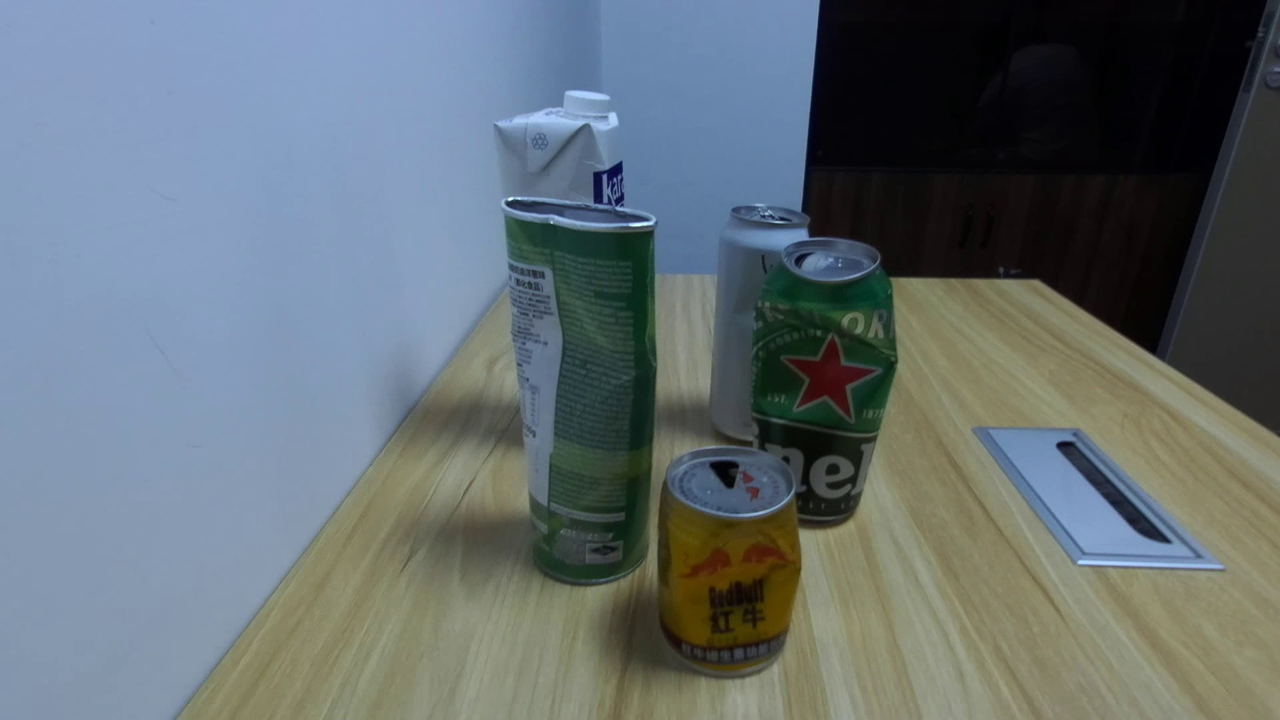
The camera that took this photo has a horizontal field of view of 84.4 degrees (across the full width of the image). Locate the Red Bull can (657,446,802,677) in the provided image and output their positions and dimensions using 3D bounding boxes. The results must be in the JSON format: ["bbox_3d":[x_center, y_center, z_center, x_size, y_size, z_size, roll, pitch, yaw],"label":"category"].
[{"bbox_3d":[0.042,0.094,0.339,0.072,0.092,0.072,-1,24,1],"label":"Red Bull can"}]

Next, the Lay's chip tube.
[{"bbox_3d":[-0.030,0.020,0.375,0.075,0.199,0.069,-2,25,-4],"label":"Lay's chip tube"}]

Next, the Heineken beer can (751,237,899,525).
[{"bbox_3d":[0.107,0.017,0.423,0.069,0.168,0.068,-12,28,-21],"label":"Heineken beer can"}]

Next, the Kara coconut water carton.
[{"bbox_3d":[-0.047,-0.063,0.501,0.075,0.245,0.077,5,31,12],"label":"Kara coconut water carton"}]

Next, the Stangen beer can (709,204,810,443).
[{"bbox_3d":[0.092,-0.026,0.524,0.069,0.173,0.070,18,33,30],"label":"Stangen beer can"}]
